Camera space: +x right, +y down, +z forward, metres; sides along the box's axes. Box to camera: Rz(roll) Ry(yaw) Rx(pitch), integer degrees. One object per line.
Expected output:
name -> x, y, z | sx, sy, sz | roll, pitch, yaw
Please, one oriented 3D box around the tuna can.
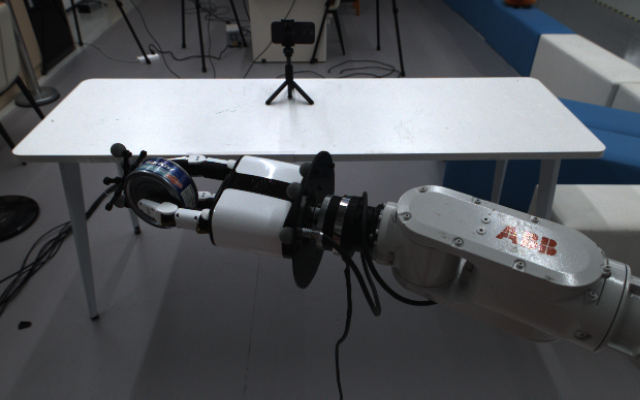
tuna can -> -0.194, -0.009, 0.593 | 0.085, 0.085, 0.034 | 11, 35, 13
